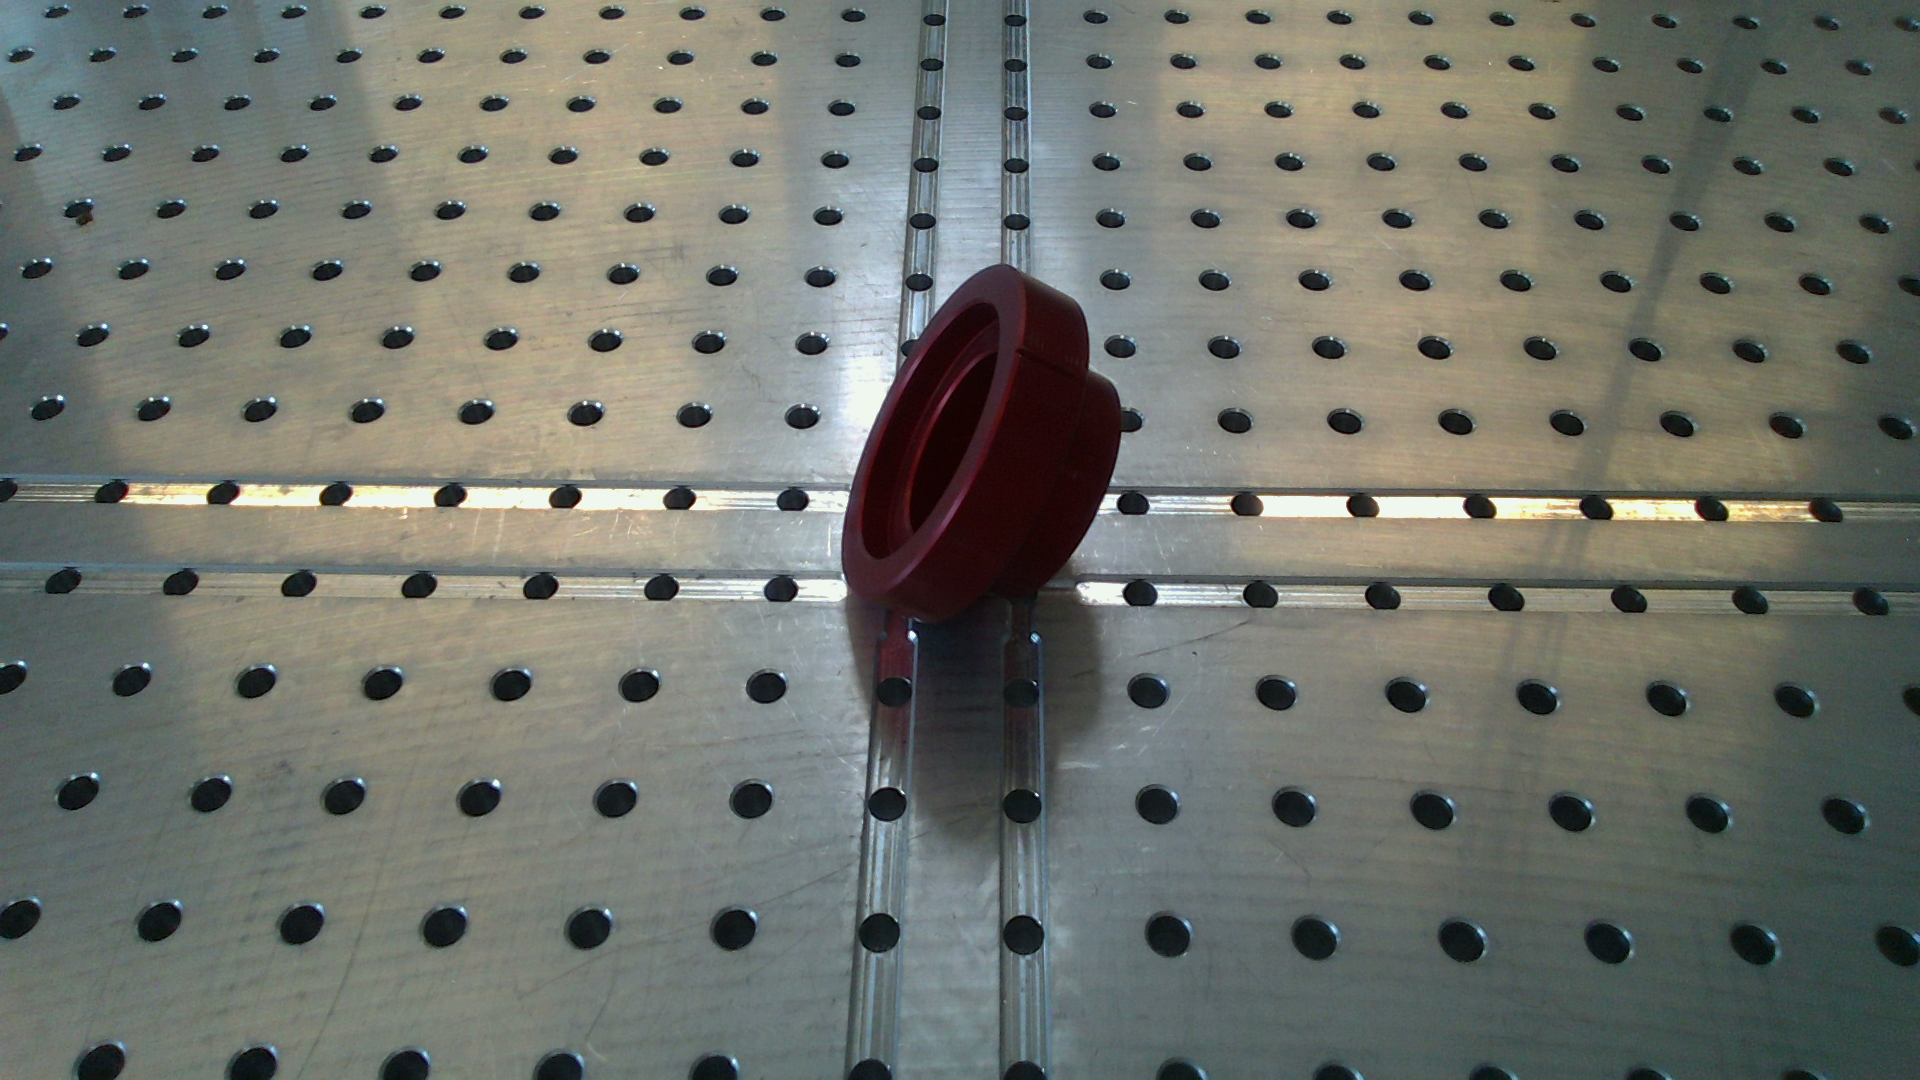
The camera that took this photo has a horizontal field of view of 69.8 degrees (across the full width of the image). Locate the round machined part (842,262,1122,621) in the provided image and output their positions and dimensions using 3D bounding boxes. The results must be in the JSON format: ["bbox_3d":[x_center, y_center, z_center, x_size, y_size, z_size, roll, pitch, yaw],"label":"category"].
[{"bbox_3d":[0.008,-0.023,0.378,0.042,0.098,0.098,23,46,-21],"label":"round machined part"}]
